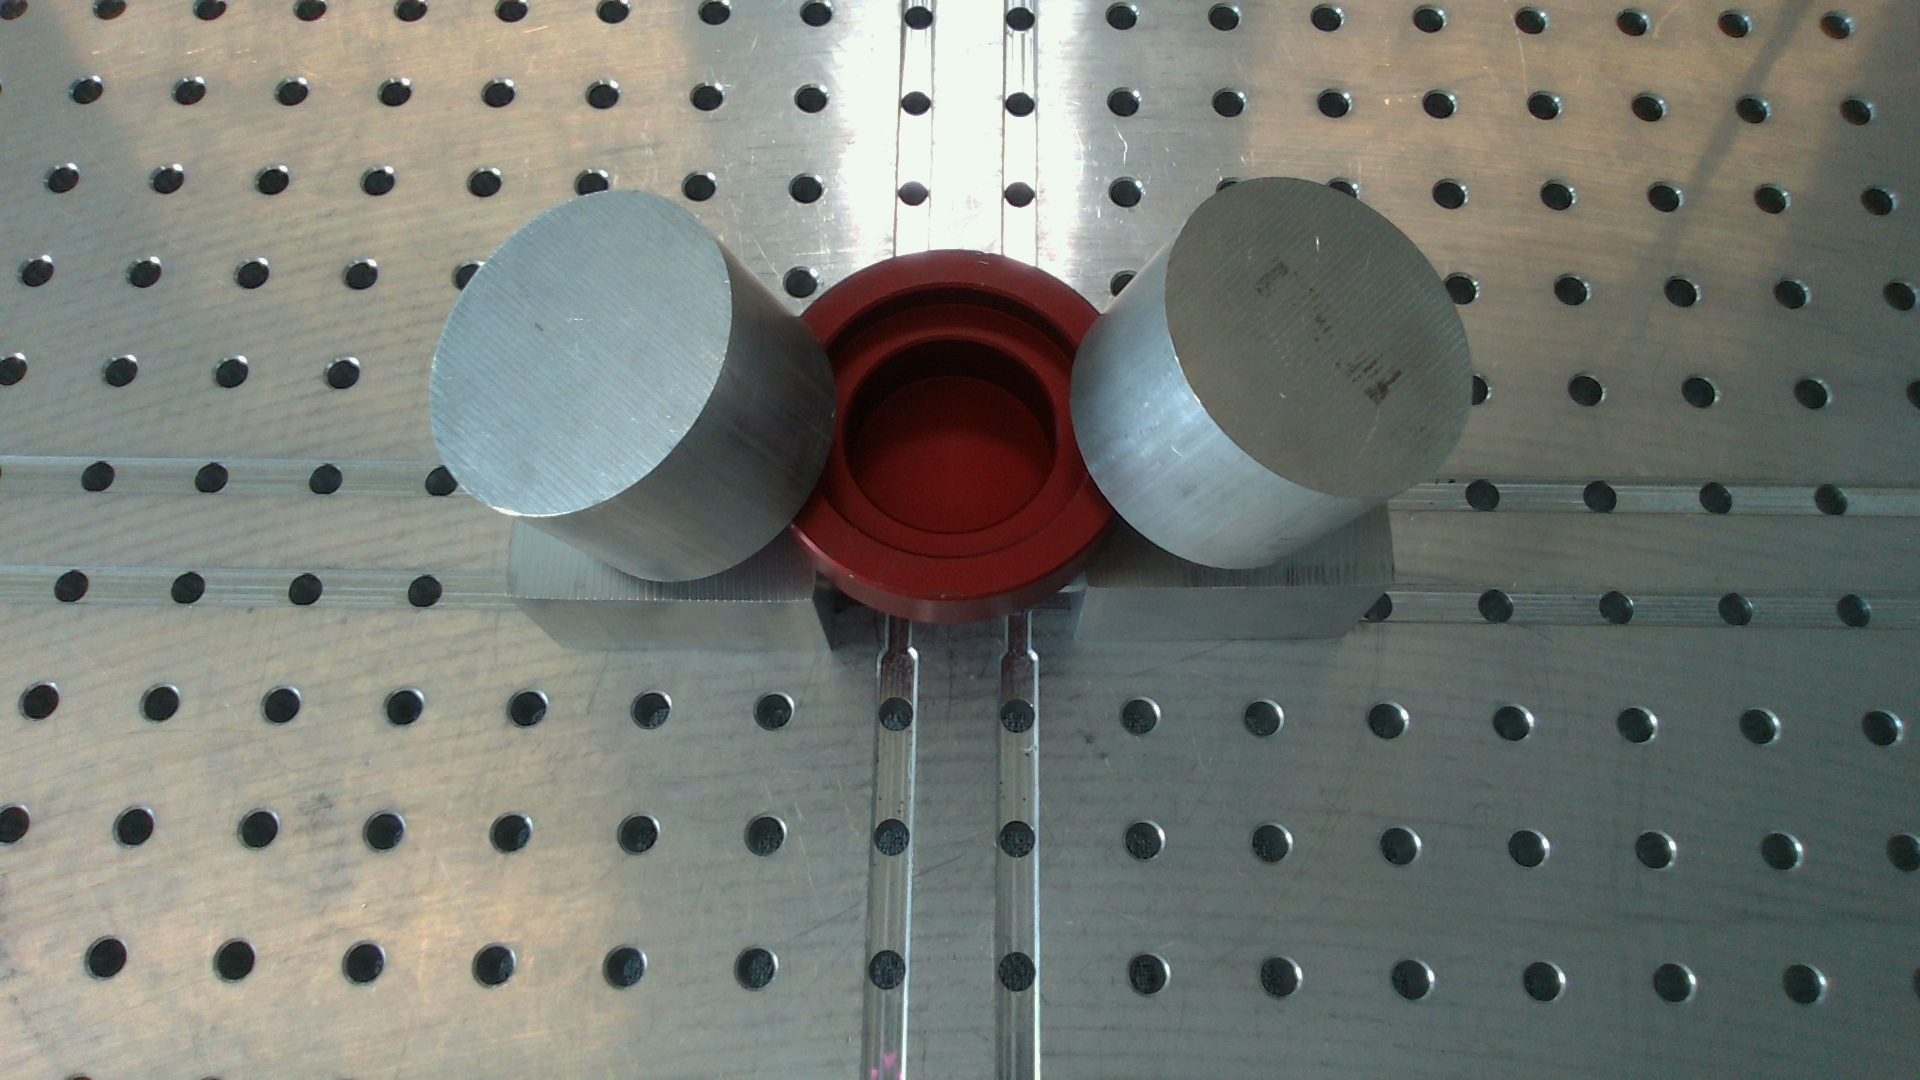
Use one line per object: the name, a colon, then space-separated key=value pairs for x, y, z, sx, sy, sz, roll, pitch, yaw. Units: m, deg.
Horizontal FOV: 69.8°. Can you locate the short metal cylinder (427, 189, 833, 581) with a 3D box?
short metal cylinder: x=-0.078 y=-0.035 z=0.329 sx=0.080 sy=0.050 sz=0.080 roll=-7 pitch=70 yaw=20

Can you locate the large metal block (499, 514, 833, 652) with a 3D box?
large metal block: x=-0.077 y=-0.014 z=0.388 sx=0.080 sy=0.050 sz=0.080 roll=1 pitch=70 yaw=0

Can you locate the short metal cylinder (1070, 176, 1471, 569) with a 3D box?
short metal cylinder: x=0.073 y=-0.039 z=0.331 sx=0.080 sy=0.050 sz=0.080 roll=7 pitch=68 yaw=-19

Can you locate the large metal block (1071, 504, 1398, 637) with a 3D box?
large metal block: x=0.072 y=-0.018 z=0.390 sx=0.080 sy=0.050 sz=0.080 roll=-1 pitch=70 yaw=0

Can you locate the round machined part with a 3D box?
round machined part: x=-0.003 y=-0.025 z=0.366 sx=0.098 sy=0.042 sz=0.098 roll=0 pitch=70 yaw=0
